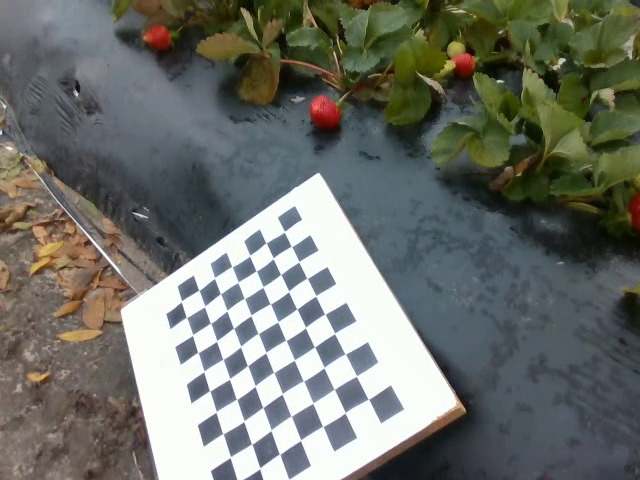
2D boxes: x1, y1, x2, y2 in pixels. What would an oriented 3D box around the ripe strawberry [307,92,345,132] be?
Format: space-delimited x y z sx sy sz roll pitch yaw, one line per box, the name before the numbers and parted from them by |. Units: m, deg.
ripe strawberry | 0.000 -0.169 0.824 0.045 0.048 0.054 -2 15 31
